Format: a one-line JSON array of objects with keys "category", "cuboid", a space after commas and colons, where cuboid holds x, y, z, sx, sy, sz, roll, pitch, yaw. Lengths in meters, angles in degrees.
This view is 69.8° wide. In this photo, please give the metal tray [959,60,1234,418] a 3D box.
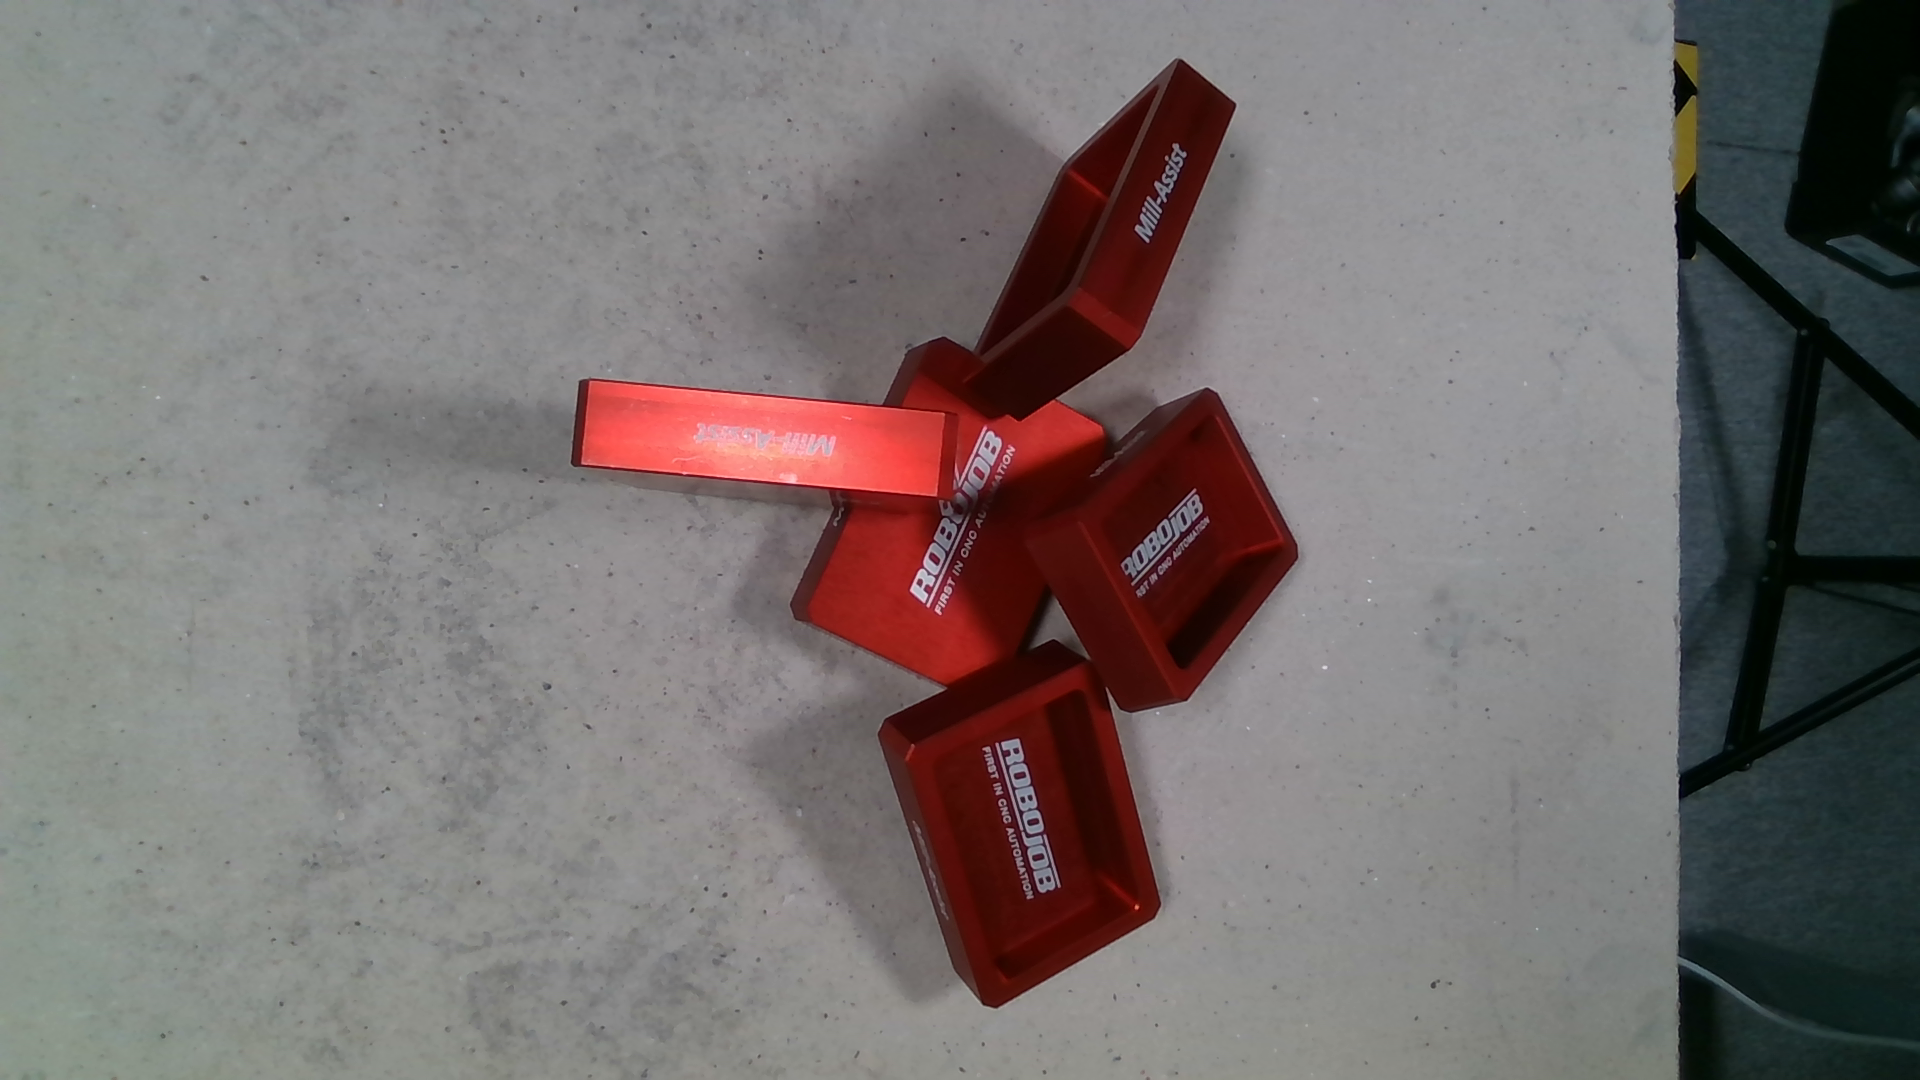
[{"category": "metal tray", "cuboid": [0.054, -0.120, 0.555, 0.030, 0.090, 0.130, 33, 62, -17]}]

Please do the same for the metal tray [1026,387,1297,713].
[{"category": "metal tray", "cuboid": [0.090, 0.001, 0.585, 0.130, 0.030, 0.090, -41, 105, -45]}]

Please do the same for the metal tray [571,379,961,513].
[{"category": "metal tray", "cuboid": [-0.066, -0.032, 0.506, 0.130, 0.090, 0.030, 5, 88, 0]}]

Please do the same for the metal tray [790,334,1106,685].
[{"category": "metal tray", "cuboid": [-0.004, -0.009, 0.581, 0.090, 0.030, 0.130, 27, 81, -18]}]

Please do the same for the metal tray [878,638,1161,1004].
[{"category": "metal tray", "cuboid": [0.027, 0.118, 0.577, 0.090, 0.030, 0.130, -23, 113, -19]}]
